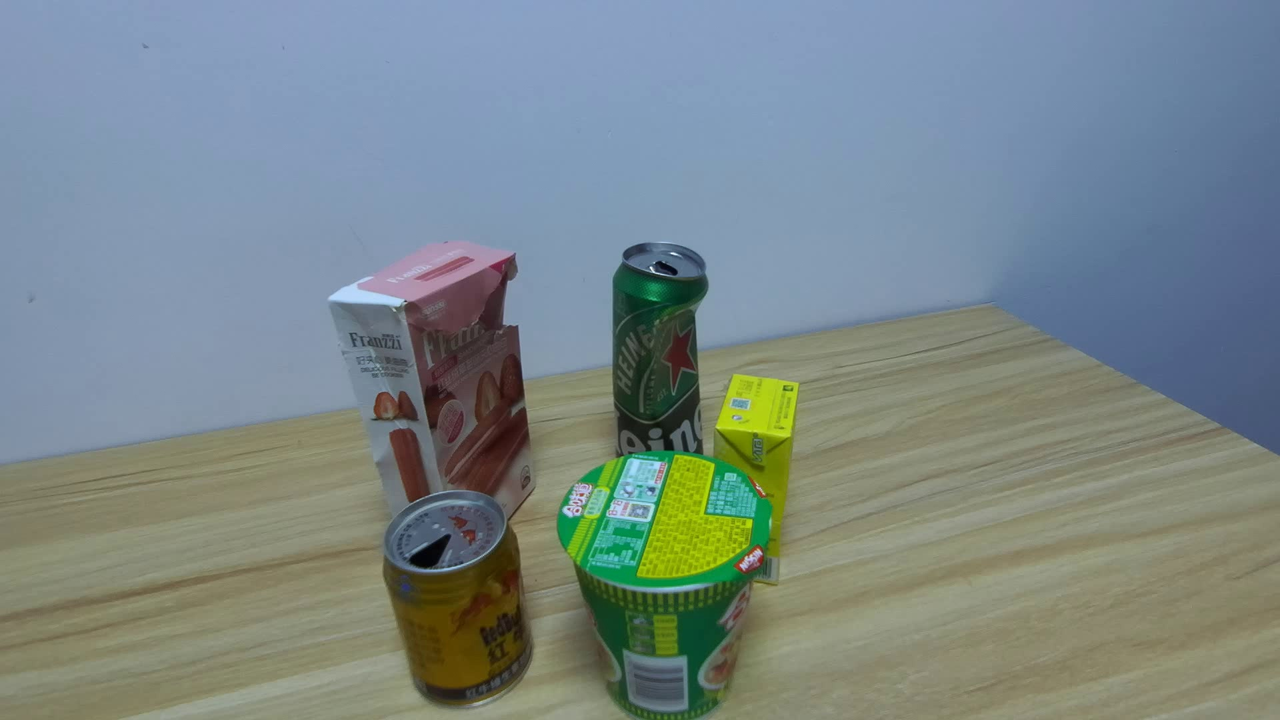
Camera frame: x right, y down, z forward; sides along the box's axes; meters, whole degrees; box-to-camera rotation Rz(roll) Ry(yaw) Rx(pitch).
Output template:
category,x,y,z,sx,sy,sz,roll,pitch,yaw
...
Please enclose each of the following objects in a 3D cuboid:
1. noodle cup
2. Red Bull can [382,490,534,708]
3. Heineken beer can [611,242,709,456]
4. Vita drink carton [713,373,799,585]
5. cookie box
category,x,y,z,sx,sy,sz,roll,pitch,yaw
noodle cup,0.013,0.120,0.351,0.097,0.110,0.097,-2,27,1
Red Bull can,-0.093,0.122,0.365,0.068,0.093,0.068,-2,27,1
Heineken beer can,0.015,0.006,0.494,0.068,0.168,0.069,-7,30,-15
Vita drink carton,0.071,0.069,0.432,0.043,0.109,0.076,6,29,15
cookie box,-0.120,0.030,0.444,0.059,0.186,0.105,11,29,21
